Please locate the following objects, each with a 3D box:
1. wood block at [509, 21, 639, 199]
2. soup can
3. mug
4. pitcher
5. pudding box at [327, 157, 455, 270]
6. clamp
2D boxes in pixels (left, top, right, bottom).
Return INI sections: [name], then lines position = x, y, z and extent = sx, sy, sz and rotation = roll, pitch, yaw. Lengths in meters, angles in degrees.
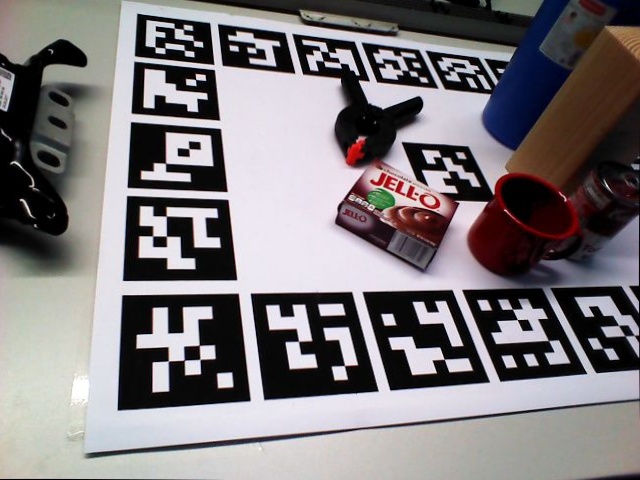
[wood block]
position = 0.329, -0.128, 0.599
extent = 0.089, 0.207, 0.090
rotation = 1, 52, -21
[soup can]
position = 0.315, -0.026, 0.582
extent = 0.068, 0.102, 0.067
rotation = 8, 53, -11
[mug]
position = 0.226, -0.005, 0.553
extent = 0.117, 0.082, 0.092
rotation = 28, 47, 8
[pitcher]
position = 0.337, -0.233, 0.666
extent = 0.188, 0.244, 0.132
rotation = -1, 51, -14
[pudding box]
position = 0.077, -0.030, 0.561
extent = 0.114, 0.039, 0.089
rotation = 30, 53, 9
[clamp]
position = 0.070, -0.153, 0.665
extent = 0.122, 0.037, 0.164
rotation = 28, 50, -3
